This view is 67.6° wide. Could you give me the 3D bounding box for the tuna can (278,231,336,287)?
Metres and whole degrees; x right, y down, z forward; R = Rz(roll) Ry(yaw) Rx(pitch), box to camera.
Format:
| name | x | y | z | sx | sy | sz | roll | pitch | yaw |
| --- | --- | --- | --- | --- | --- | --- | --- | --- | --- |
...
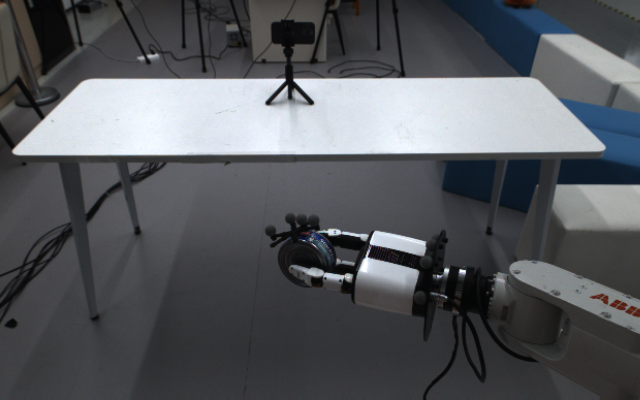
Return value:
| name | x | y | z | sx | sy | sz | roll | pitch | yaw |
| --- | --- | --- | --- | --- | --- | --- | --- | --- | --- |
| tuna can | -0.017 | 0.097 | 0.735 | 0.085 | 0.085 | 0.034 | 15 | 29 | 18 |
